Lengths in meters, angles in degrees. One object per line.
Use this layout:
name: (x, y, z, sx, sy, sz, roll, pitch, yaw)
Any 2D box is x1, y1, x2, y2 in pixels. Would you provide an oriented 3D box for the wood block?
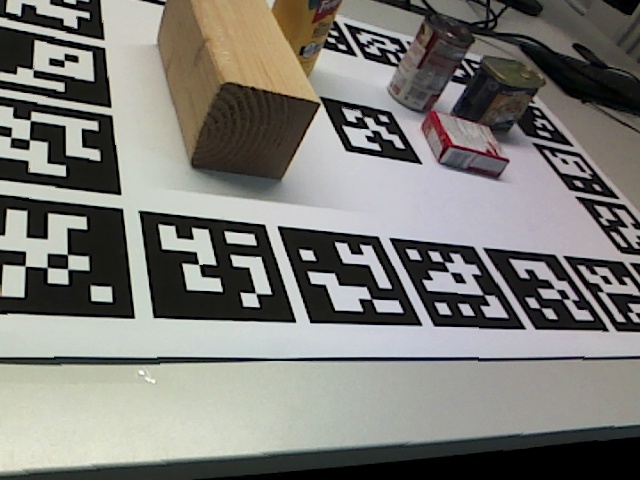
wood block: (-0.084, -0.160, 0.589, 0.090, 0.090, 0.207, 7, 39, -29)

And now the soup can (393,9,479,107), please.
soup can: (0.145, -0.230, 0.789, 0.067, 0.102, 0.068, 17, 41, -16)

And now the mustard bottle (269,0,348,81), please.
mustard bottle: (-0.010, -0.261, 0.674, 0.095, 0.191, 0.059, -19, 58, -46)

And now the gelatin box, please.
gelatin box: (0.180, -0.116, 0.748, 0.089, 0.030, 0.073, 11, 43, -19)

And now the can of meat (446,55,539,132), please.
can of meat: (0.229, -0.193, 0.831, 0.101, 0.084, 0.058, -6, 50, -40)
